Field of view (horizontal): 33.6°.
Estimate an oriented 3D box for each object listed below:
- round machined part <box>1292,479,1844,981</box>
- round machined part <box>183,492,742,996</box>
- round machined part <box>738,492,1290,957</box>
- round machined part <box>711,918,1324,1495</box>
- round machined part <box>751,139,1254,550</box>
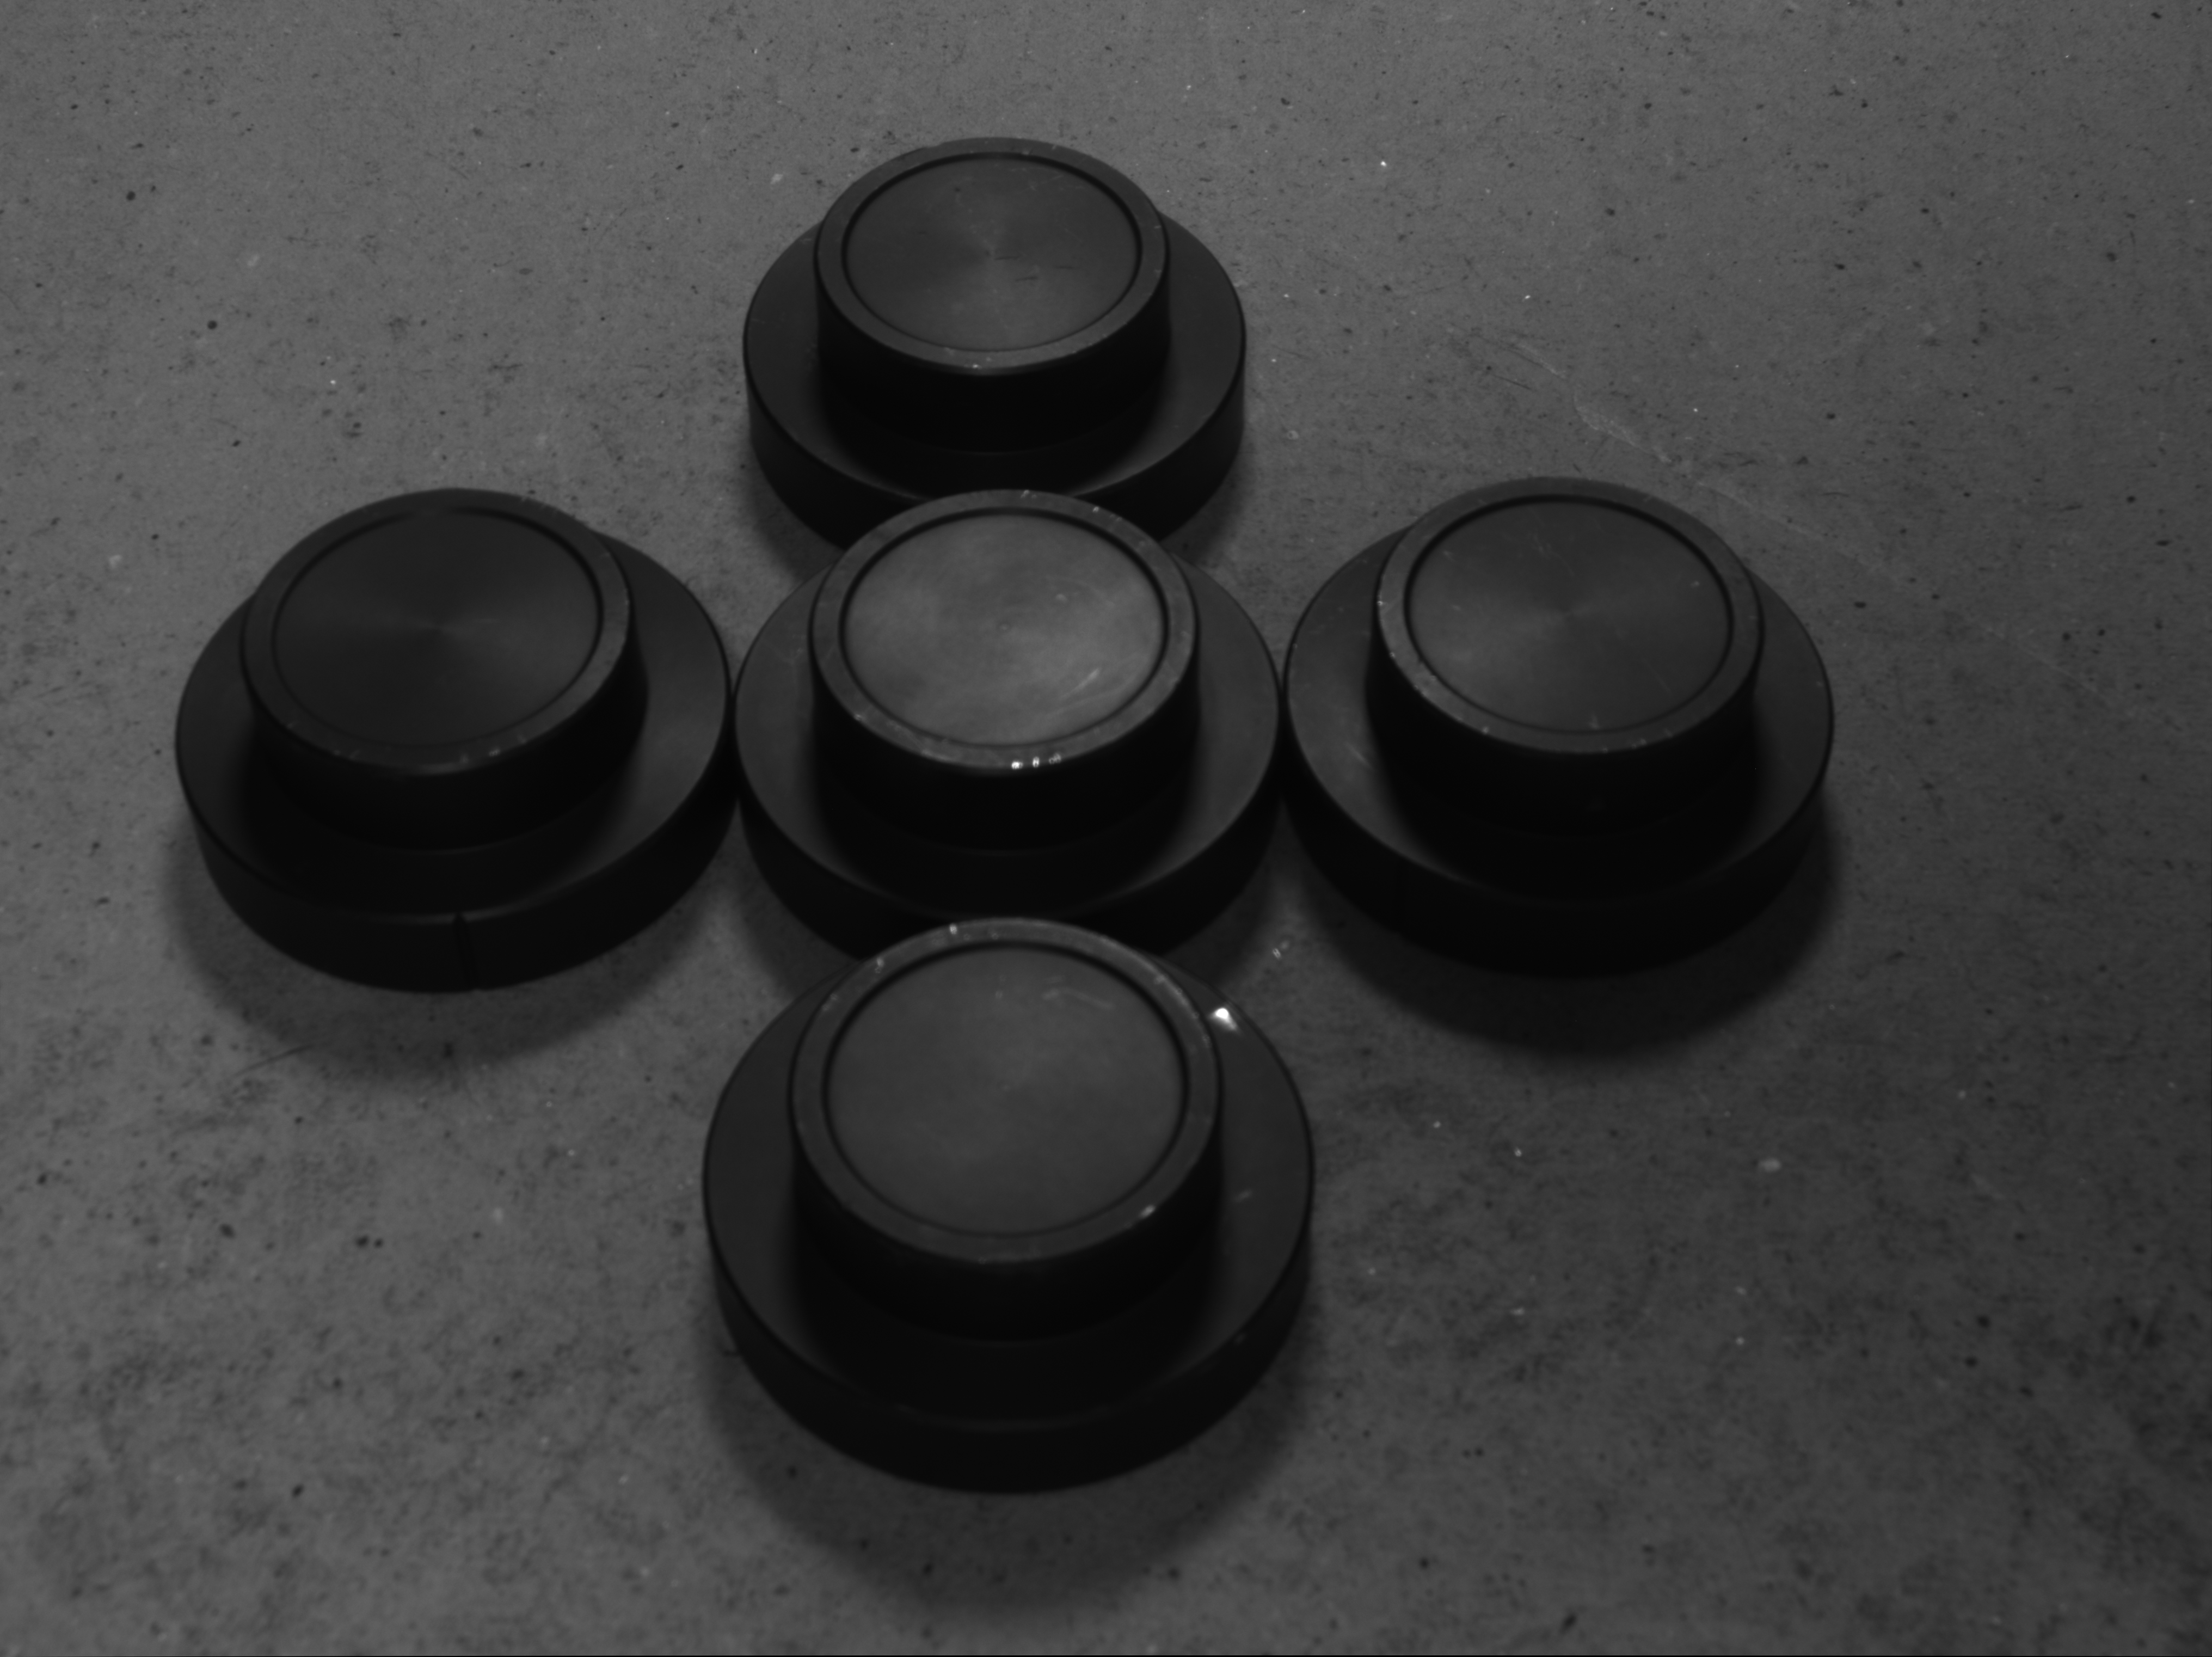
[{"bbox_3d":[0.082,-0.024,0.652,0.098,0.042,0.098,0,50,0],"label":"round machined part"},{"bbox_3d":[-0.114,-0.021,0.649,0.098,0.042,0.098,0,50,0],"label":"round machined part"},{"bbox_3d":[-0.016,-0.022,0.650,0.098,0.042,0.098,0,50,0],"label":"round machined part"},{"bbox_3d":[-0.014,0.053,0.586,0.098,0.042,0.098,0,50,0],"label":"round machined part"},{"bbox_3d":[-0.020,-0.096,0.713,0.098,0.042,0.098,0,50,0],"label":"round machined part"}]
